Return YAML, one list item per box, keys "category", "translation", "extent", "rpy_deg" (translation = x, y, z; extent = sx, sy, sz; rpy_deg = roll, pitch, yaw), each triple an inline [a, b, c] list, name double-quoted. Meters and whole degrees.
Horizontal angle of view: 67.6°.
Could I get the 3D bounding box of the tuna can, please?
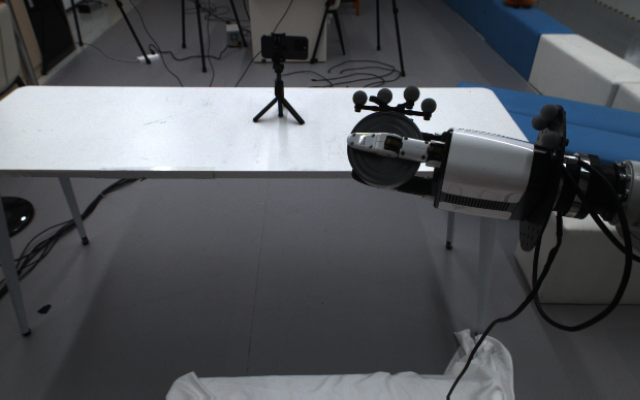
- category: "tuna can"
  translation: [0.076, -0.060, 0.555]
  extent: [0.085, 0.085, 0.034]
  rpy_deg: [11, -7, 12]
